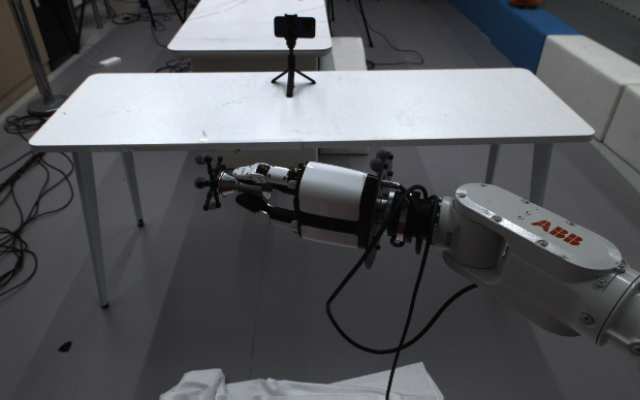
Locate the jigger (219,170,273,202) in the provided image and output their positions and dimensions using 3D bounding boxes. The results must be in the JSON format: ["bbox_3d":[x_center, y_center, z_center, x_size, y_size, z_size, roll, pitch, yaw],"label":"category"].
[{"bbox_3d":[-0.101,-0.024,0.703,0.071,0.043,0.043,4,34,13],"label":"jigger"}]
